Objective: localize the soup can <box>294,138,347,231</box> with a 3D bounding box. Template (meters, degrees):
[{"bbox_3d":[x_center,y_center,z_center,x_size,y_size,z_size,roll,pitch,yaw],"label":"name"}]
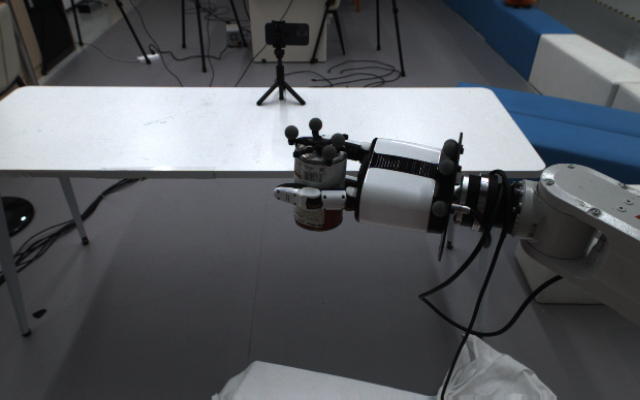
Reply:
[{"bbox_3d":[0.001,-0.019,0.626,0.067,0.101,0.067,2,32,-1],"label":"soup can"}]
